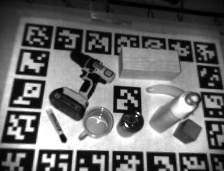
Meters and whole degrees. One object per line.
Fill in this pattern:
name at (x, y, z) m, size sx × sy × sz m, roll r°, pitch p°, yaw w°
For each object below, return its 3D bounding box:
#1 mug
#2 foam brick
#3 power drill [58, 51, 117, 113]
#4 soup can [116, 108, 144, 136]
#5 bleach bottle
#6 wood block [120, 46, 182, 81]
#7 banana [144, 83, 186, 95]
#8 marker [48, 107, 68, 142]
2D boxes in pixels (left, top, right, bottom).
mug at (-0.055, 0.119, 0.678) m, size 0.117 × 0.081 × 0.093 m, roll -42°, pitch 82°, yaw -18°
foam brick at (0.253, 0.154, 0.723) m, size 0.052 × 0.078 × 0.051 m, roll 35°, pitch 66°, yaw 8°
power drill at (-0.099, -0.014, 0.742) m, size 0.184 × 0.057 × 0.187 m, roll 33°, pitch 66°, yaw 0°
soup can at (0.055, 0.117, 0.682) m, size 0.068 × 0.102 × 0.067 m, roll 5°, pitch 64°, yaw -9°
bleach bottle at (0.188, 0.073, 0.648) m, size 0.068 × 0.251 × 0.103 m, roll 31°, pitch 66°, yaw 6°
wood block at (0.138, -0.078, 0.787) m, size 0.207 × 0.091 × 0.089 m, roll 3°, pitch 69°, yaw -8°
banana at (0.213, 0.018, 0.786) m, size 0.198 × 0.039 × 0.074 m, roll 20°, pitch 81°, yaw -4°
marker at (-0.174, 0.125, 0.693) m, size 0.020 × 0.019 × 0.120 m, roll -25°, pitch 76°, yaw -15°
